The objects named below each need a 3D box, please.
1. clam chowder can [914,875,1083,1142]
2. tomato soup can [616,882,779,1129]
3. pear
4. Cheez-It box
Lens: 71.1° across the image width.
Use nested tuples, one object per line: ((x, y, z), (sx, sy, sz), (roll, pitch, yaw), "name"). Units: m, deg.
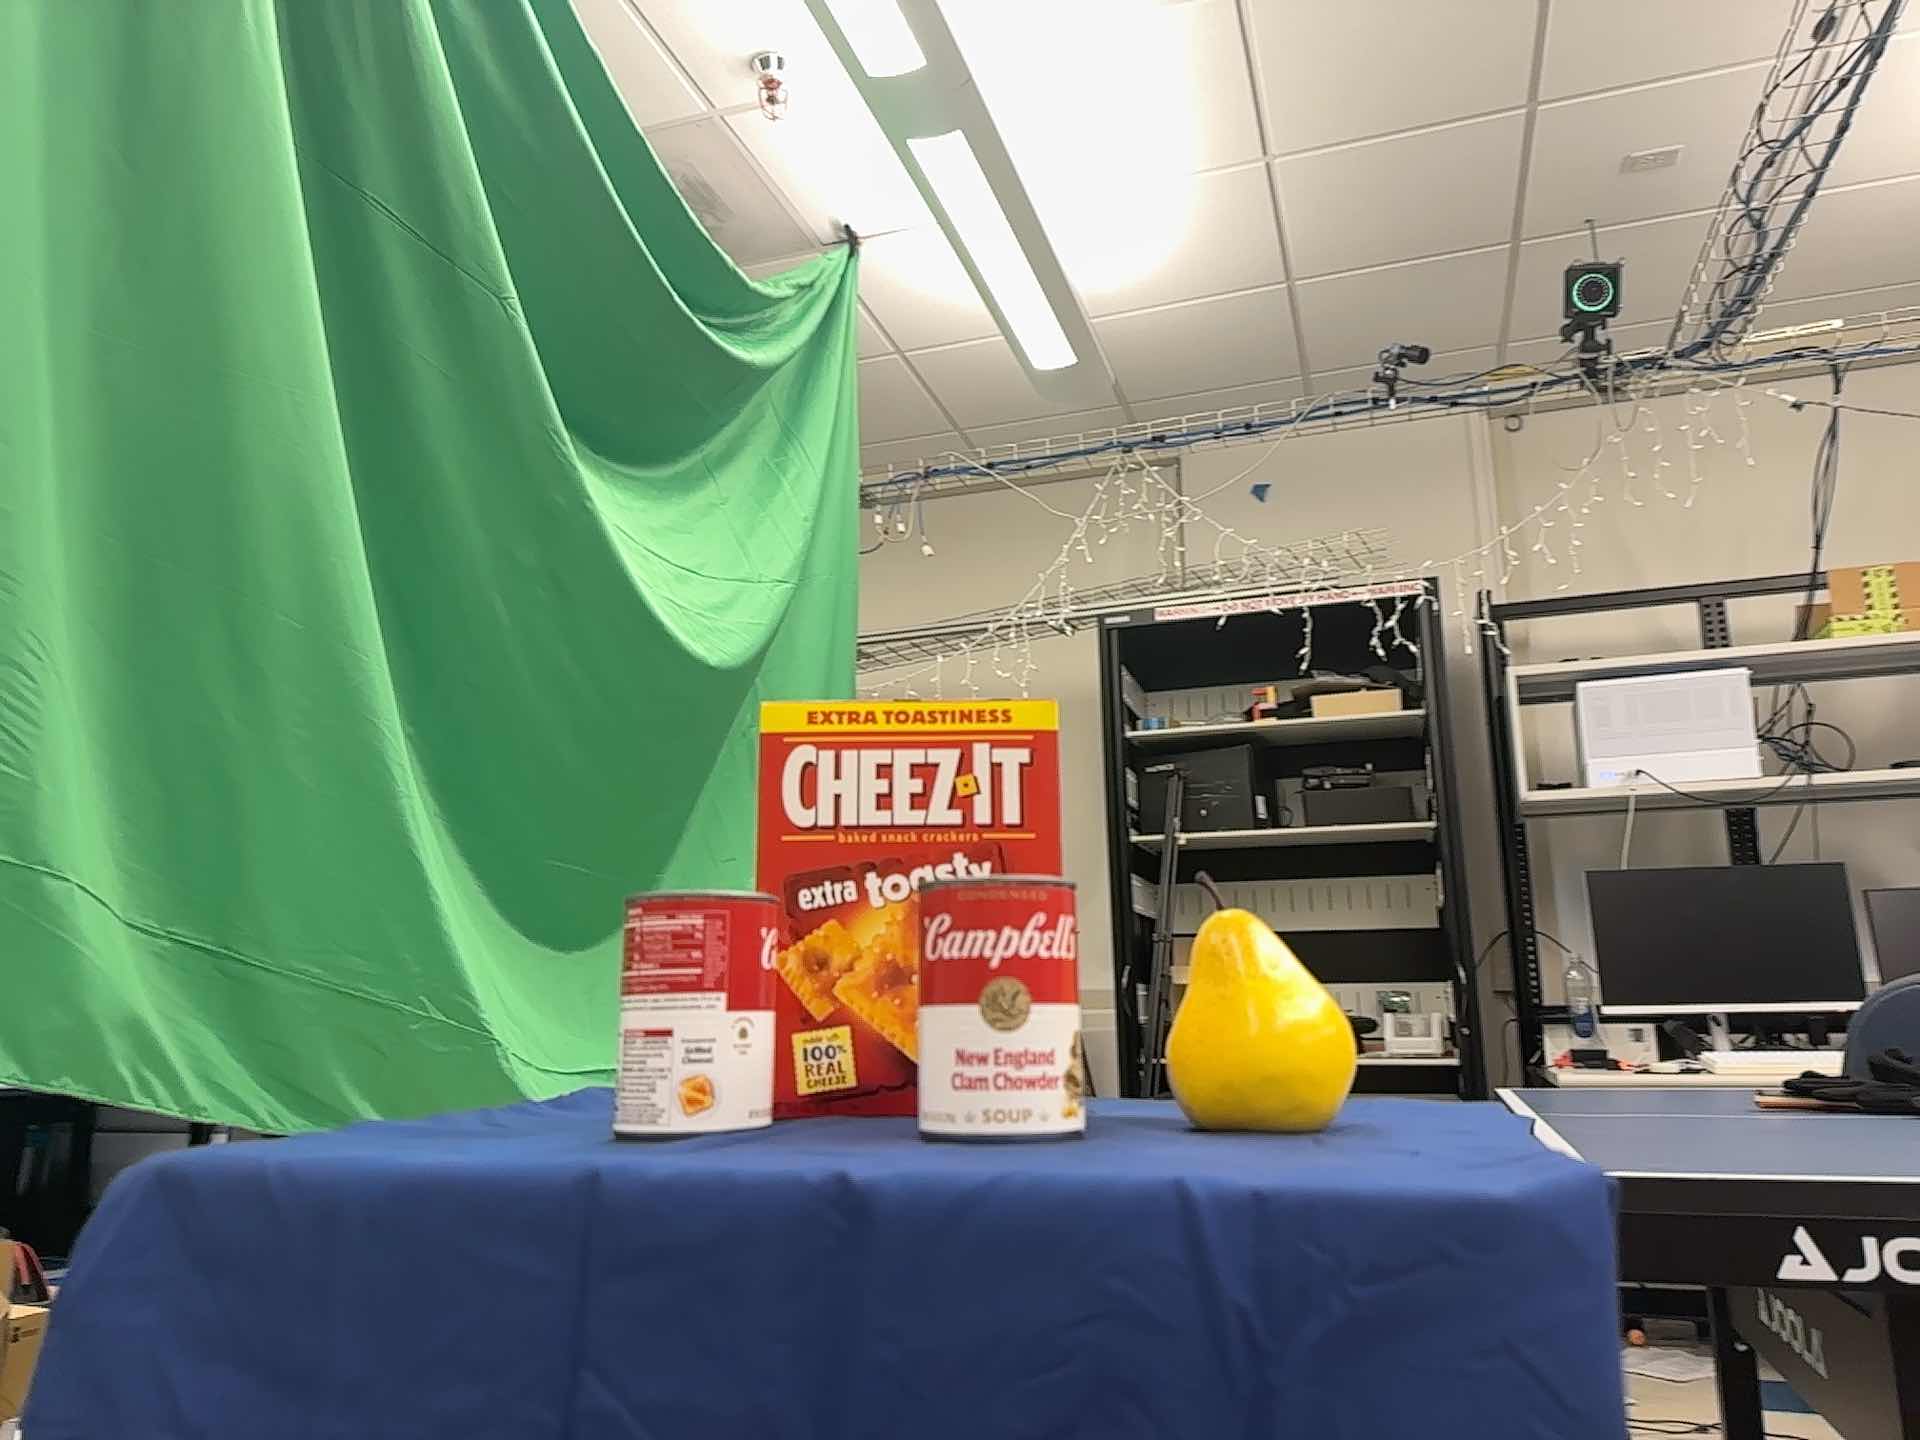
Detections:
((0.015, 0.118, 0.553), (0.068, 0.102, 0.068), (-1, -12, 0), "clam chowder can")
((-0.115, 0.125, 0.589), (0.067, 0.102, 0.067), (0, -13, 0), "tomato soup can")
((0.126, 0.119, 0.574), (0.080, 0.111, 0.080), (1, -11, 0), "pear")
((-0.027, 0.099, 0.728), (0.159, 0.214, 0.062), (0, -11, 0), "Cheez-It box")
